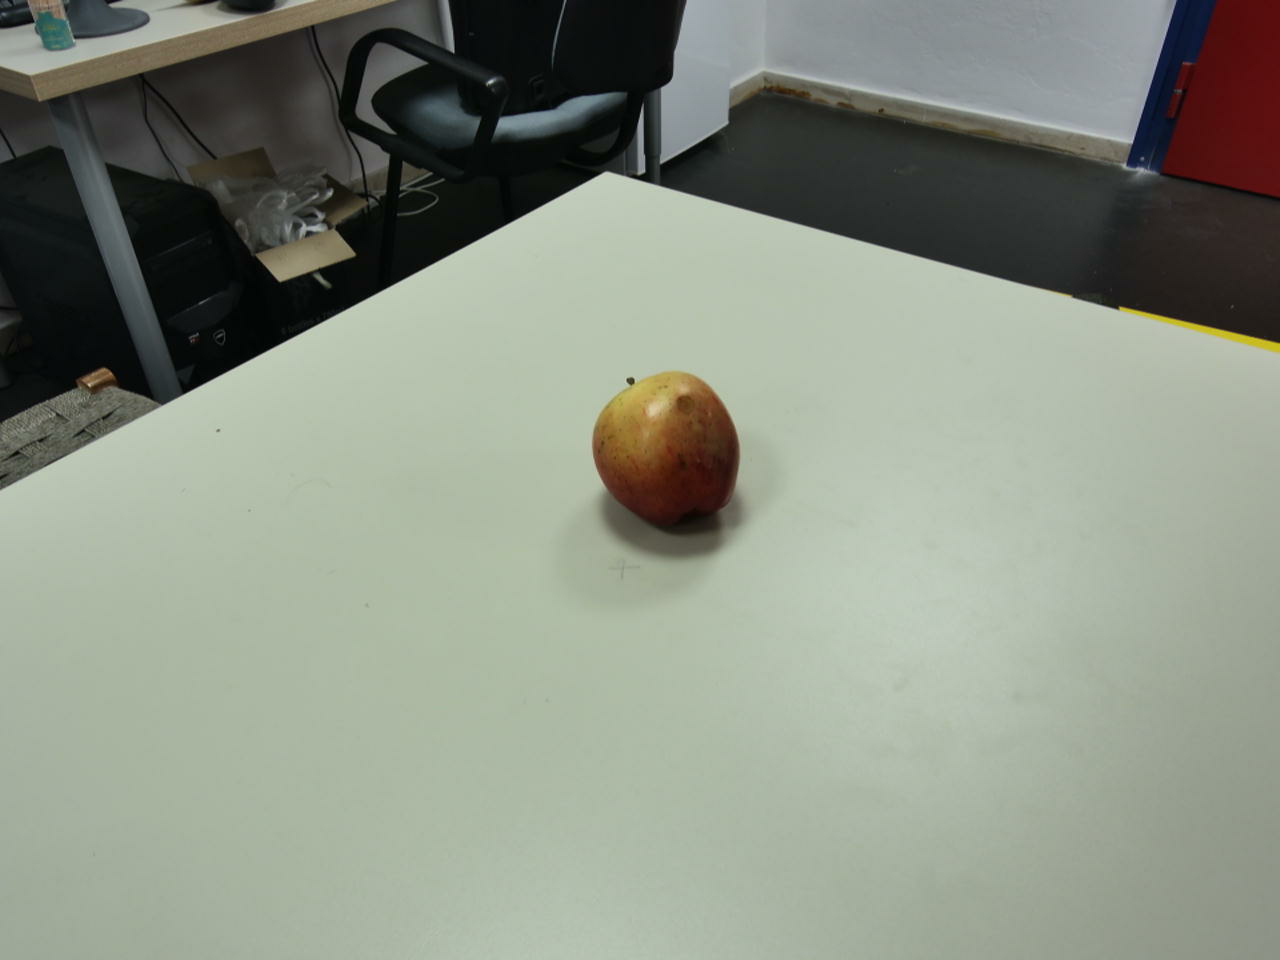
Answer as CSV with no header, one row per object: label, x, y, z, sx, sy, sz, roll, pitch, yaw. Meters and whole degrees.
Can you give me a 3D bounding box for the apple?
apple,0.015,-0.020,0.586,0.086,0.084,0.093,1,37,1
